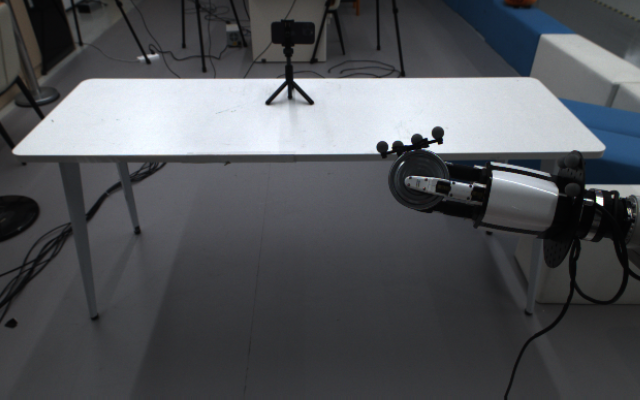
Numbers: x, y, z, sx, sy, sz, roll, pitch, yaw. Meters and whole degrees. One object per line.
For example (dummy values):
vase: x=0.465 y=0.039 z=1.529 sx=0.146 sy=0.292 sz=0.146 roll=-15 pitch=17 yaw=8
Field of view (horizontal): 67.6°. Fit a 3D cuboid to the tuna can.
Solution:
tuna can: x=0.142 y=-0.031 z=0.686 sx=0.085 sy=0.085 sz=0.034 roll=12 pitch=3 yaw=14
